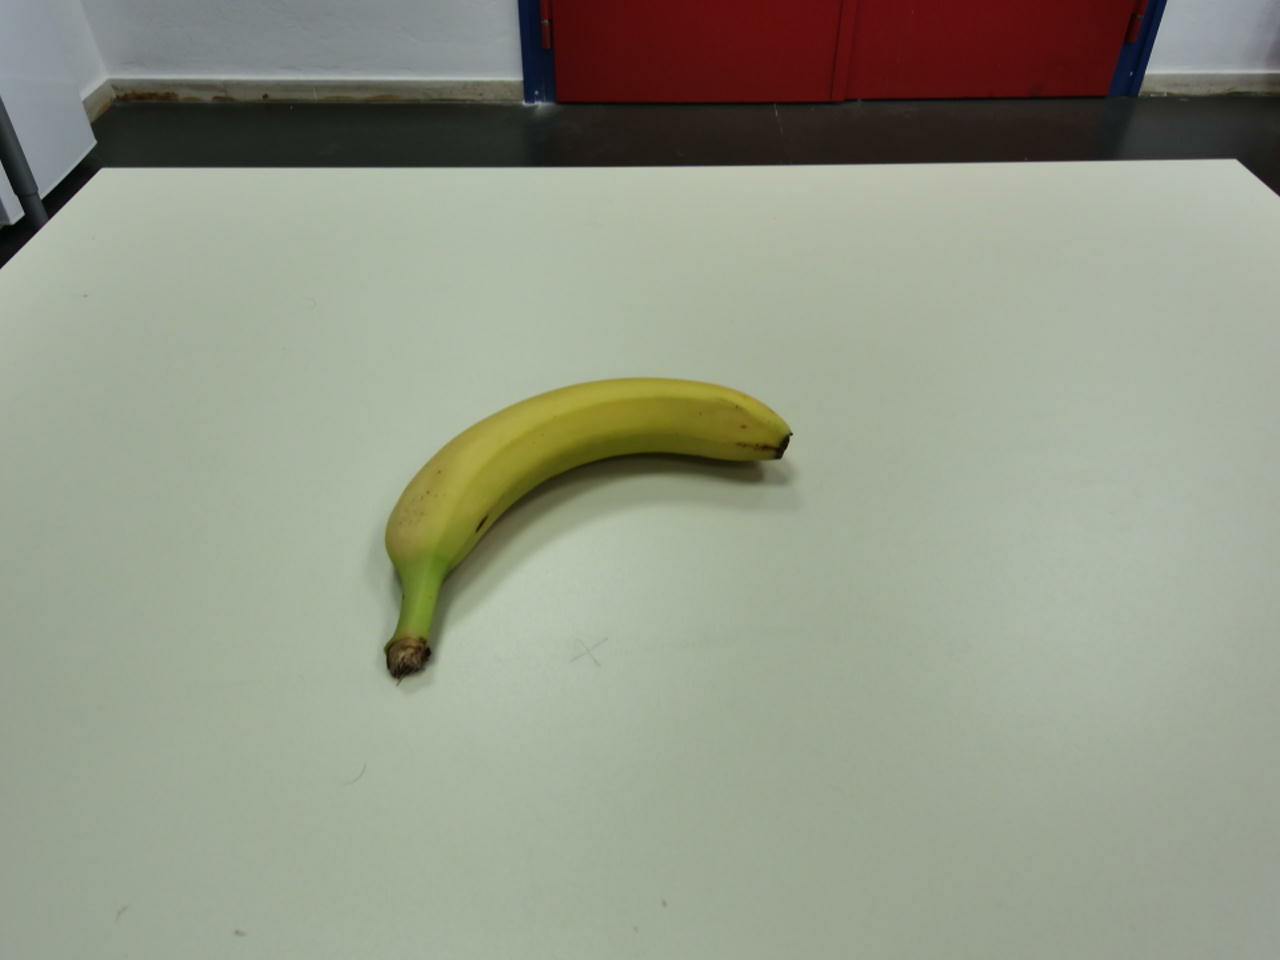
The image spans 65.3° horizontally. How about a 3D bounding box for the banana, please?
[{"bbox_3d":[-0.035,-0.001,0.421,0.196,0.041,0.094,-25,44,-27],"label":"banana"}]
